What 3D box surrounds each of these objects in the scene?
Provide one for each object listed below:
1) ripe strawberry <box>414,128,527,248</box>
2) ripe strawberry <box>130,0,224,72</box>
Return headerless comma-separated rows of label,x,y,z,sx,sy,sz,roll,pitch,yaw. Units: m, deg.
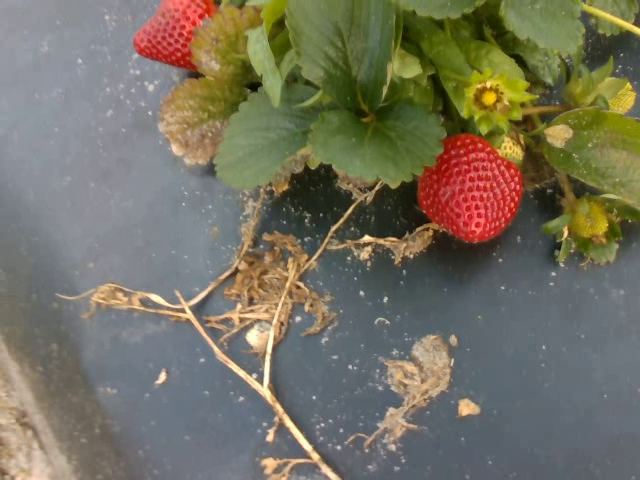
ripe strawberry,0.058,-0.018,0.241,0.043,0.046,0.047,-21,-46,25
ripe strawberry,-0.068,-0.100,0.303,0.050,0.043,0.043,-27,-21,-3
